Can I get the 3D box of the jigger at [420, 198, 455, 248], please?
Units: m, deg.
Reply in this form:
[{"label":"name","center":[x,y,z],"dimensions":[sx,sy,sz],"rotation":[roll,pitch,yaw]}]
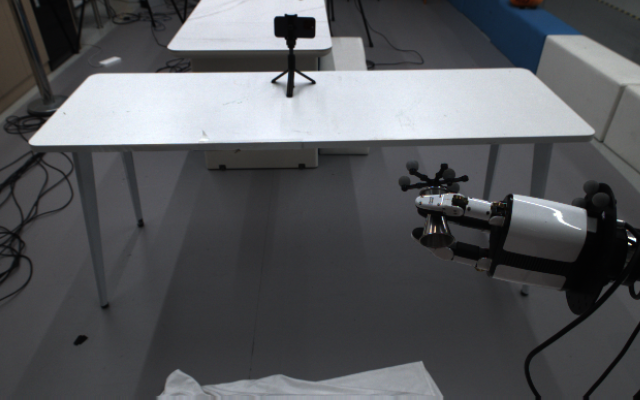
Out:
[{"label":"jigger","center":[0.147,0.019,0.618],"dimensions":[0.043,0.043,0.071],"rotation":[4,61,3]}]
